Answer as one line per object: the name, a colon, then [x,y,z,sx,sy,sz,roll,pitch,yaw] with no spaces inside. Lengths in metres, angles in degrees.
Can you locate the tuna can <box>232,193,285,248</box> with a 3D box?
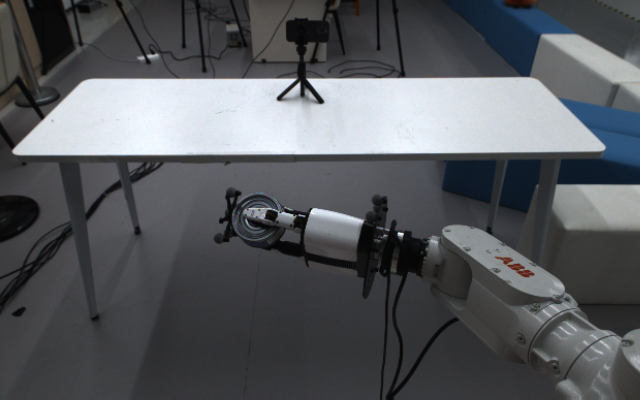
tuna can: [-0.096,0.032,0.779,0.085,0.034,0.085,-2,69,6]
